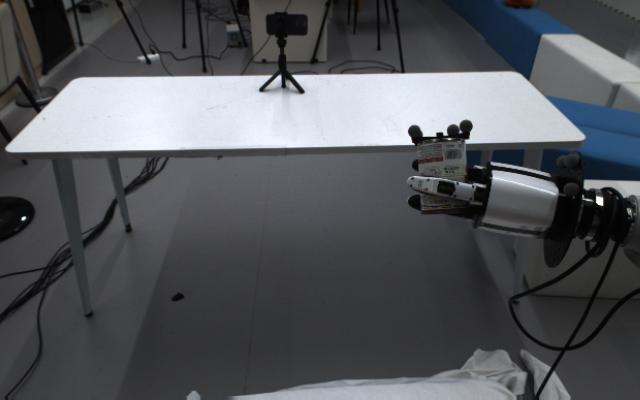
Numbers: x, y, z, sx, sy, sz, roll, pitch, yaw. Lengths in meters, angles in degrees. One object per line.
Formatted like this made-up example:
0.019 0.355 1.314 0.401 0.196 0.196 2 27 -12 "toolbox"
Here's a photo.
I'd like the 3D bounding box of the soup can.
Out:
0.174 -0.032 0.679 0.067 0.101 0.067 -3 -1 0 "soup can"
